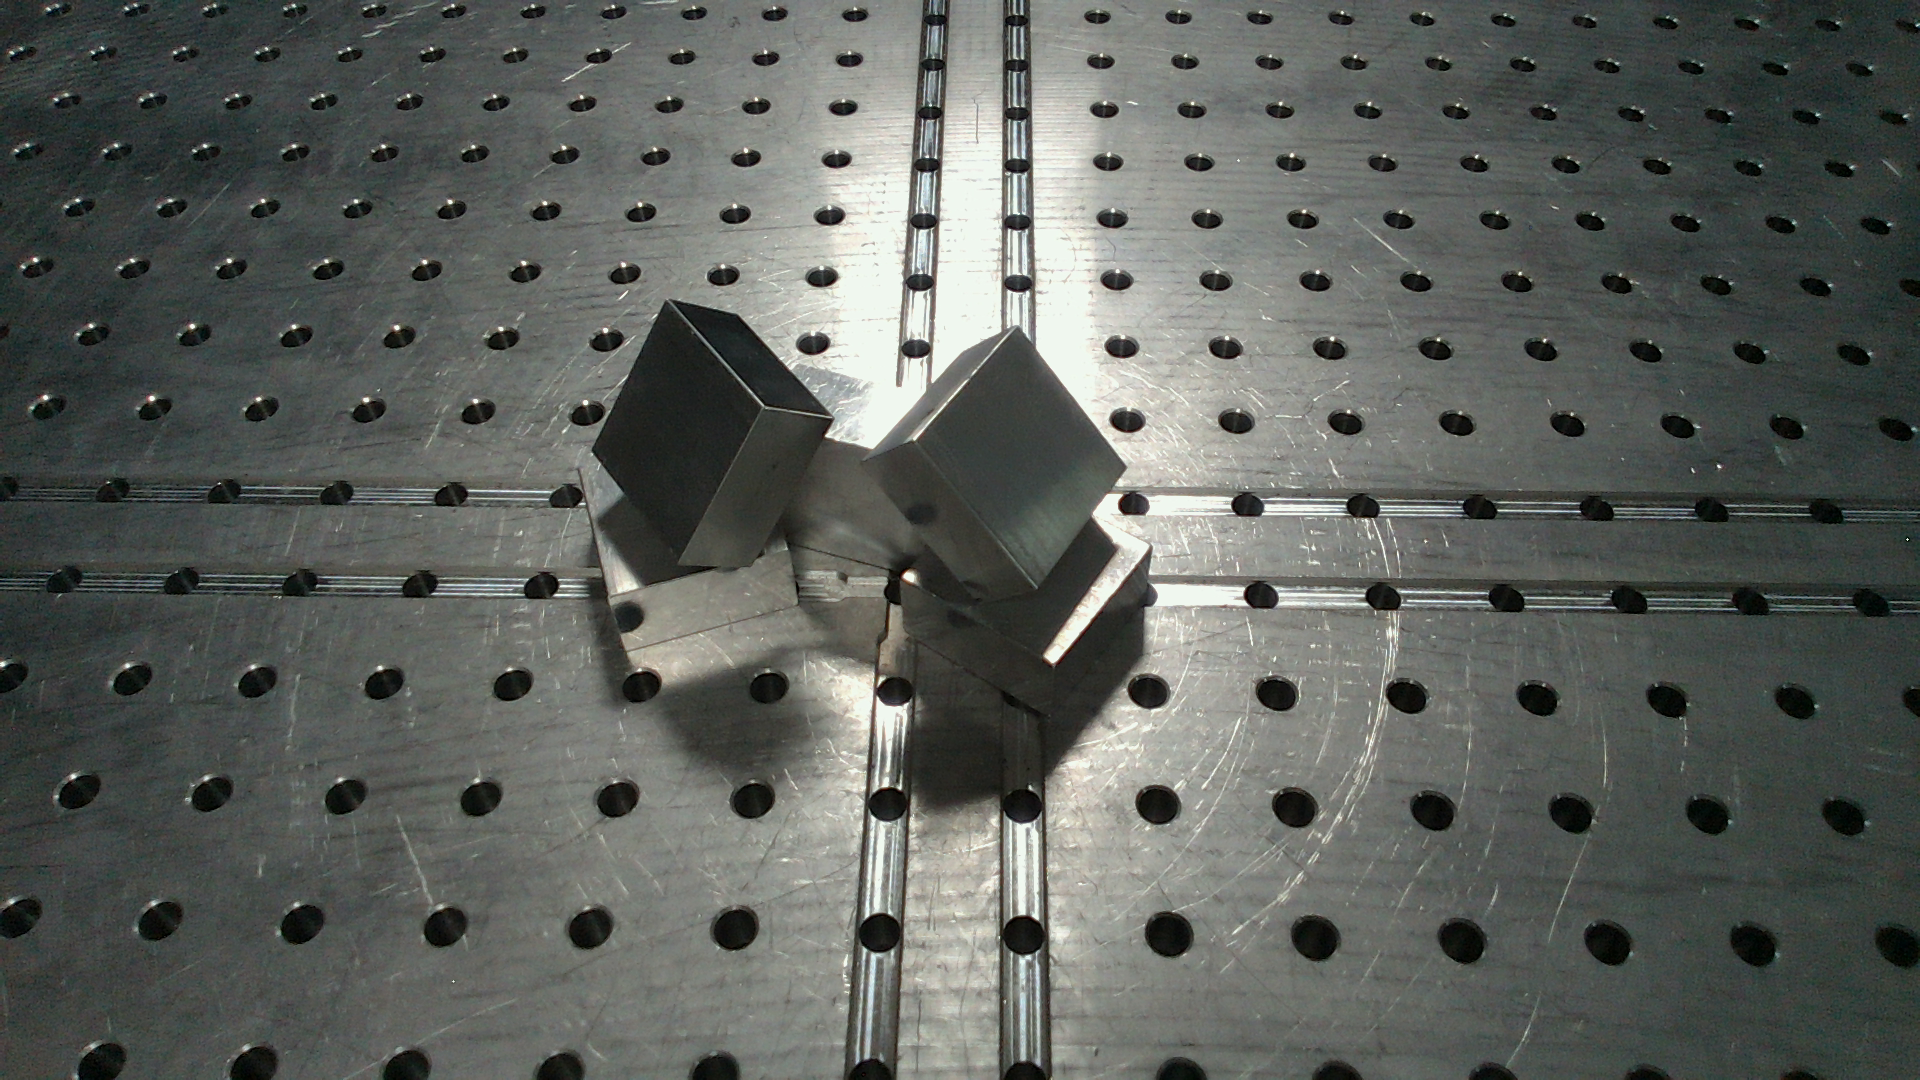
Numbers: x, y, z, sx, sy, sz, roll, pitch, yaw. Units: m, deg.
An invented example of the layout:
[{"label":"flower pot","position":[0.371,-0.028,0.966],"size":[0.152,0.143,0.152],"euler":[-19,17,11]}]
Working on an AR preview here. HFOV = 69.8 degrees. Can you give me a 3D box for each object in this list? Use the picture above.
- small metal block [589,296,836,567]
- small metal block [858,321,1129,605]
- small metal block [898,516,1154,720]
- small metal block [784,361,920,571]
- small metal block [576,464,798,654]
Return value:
[{"label":"small metal block","position":[-0.067,-0.028,0.366],"size":[0.025,0.050,0.050],"euler":[4,35,-51]},{"label":"small metal block","position":[0.010,-0.020,0.360],"size":[0.050,0.025,0.050],"euler":[50,55,-17]},{"label":"small metal block","position":[0.018,0.014,0.383],"size":[0.050,0.025,0.050],"euler":[29,56,22]},{"label":"small metal block","position":[-0.028,-0.019,0.394],"size":[0.050,0.050,0.025],"euler":[14,51,12]},{"label":"small metal block","position":[-0.079,-0.001,0.396],"size":[0.050,0.025,0.050],"euler":[-15,52,-12]}]
